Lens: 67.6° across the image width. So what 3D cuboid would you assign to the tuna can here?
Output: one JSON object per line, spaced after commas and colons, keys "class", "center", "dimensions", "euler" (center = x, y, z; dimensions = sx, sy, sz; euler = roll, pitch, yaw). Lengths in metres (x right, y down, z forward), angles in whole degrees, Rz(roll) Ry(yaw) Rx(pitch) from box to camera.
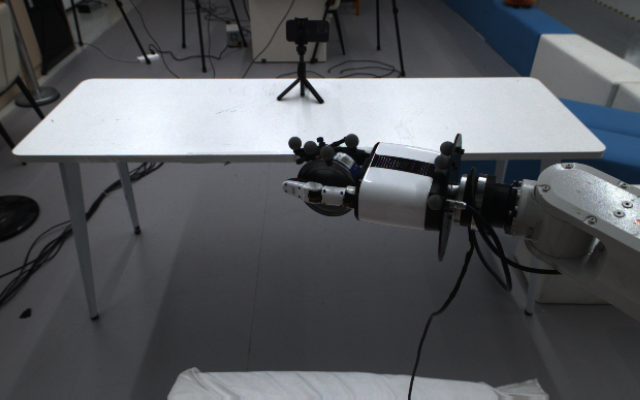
{"class": "tuna can", "center": [0.016, -0.023, 0.643], "dimensions": [0.085, 0.085, 0.034], "euler": [14, 34, 17]}
